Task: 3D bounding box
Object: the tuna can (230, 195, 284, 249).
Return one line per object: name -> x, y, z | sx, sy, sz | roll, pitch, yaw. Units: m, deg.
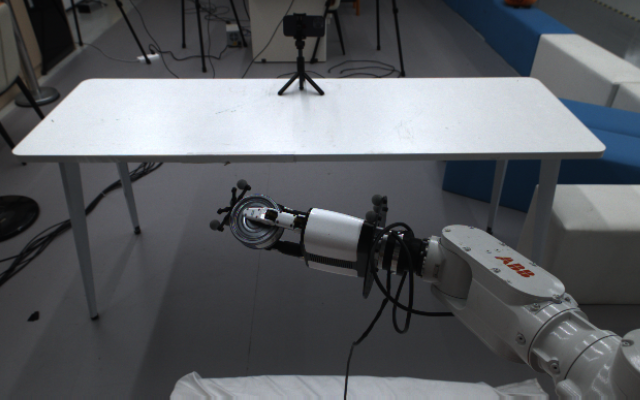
tuna can -> -0.098, 0.038, 0.774 | 0.085, 0.034, 0.085 | -2, 73, 6
